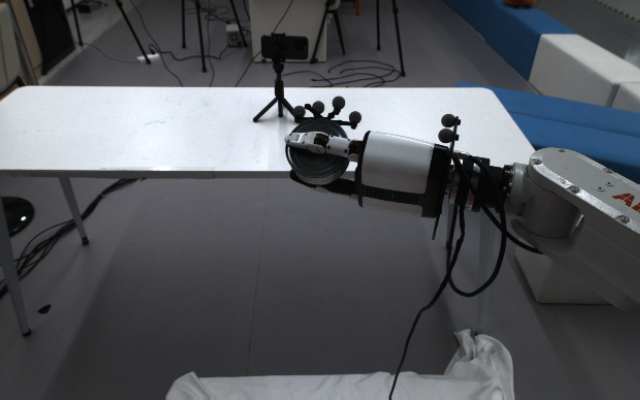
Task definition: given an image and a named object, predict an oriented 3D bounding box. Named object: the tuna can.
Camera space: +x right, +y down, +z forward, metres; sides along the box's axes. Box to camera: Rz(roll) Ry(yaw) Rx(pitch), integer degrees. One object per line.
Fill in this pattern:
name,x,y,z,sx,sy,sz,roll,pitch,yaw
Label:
tuna can,-0.001,-0.067,0.654,0.085,0.034,0.085,-3,69,7
